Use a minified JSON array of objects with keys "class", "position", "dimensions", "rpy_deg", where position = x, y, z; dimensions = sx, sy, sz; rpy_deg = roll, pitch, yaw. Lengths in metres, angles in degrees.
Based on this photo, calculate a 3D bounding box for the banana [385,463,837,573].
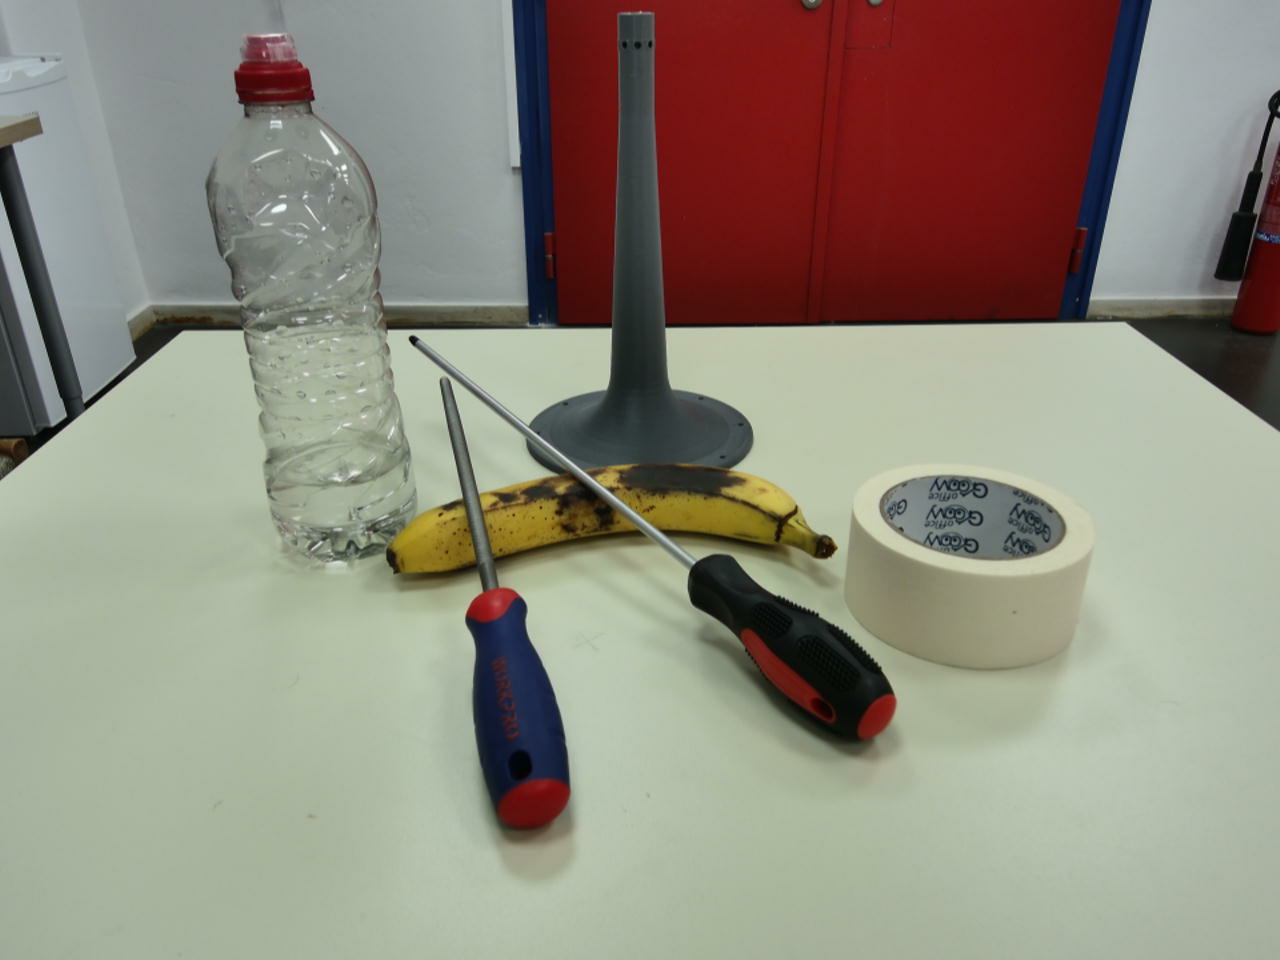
[{"class":"banana","position":[-0.015,0.019,0.524],"dimensions":[0.222,0.037,0.084],"rpy_deg":[0,26,0]}]
